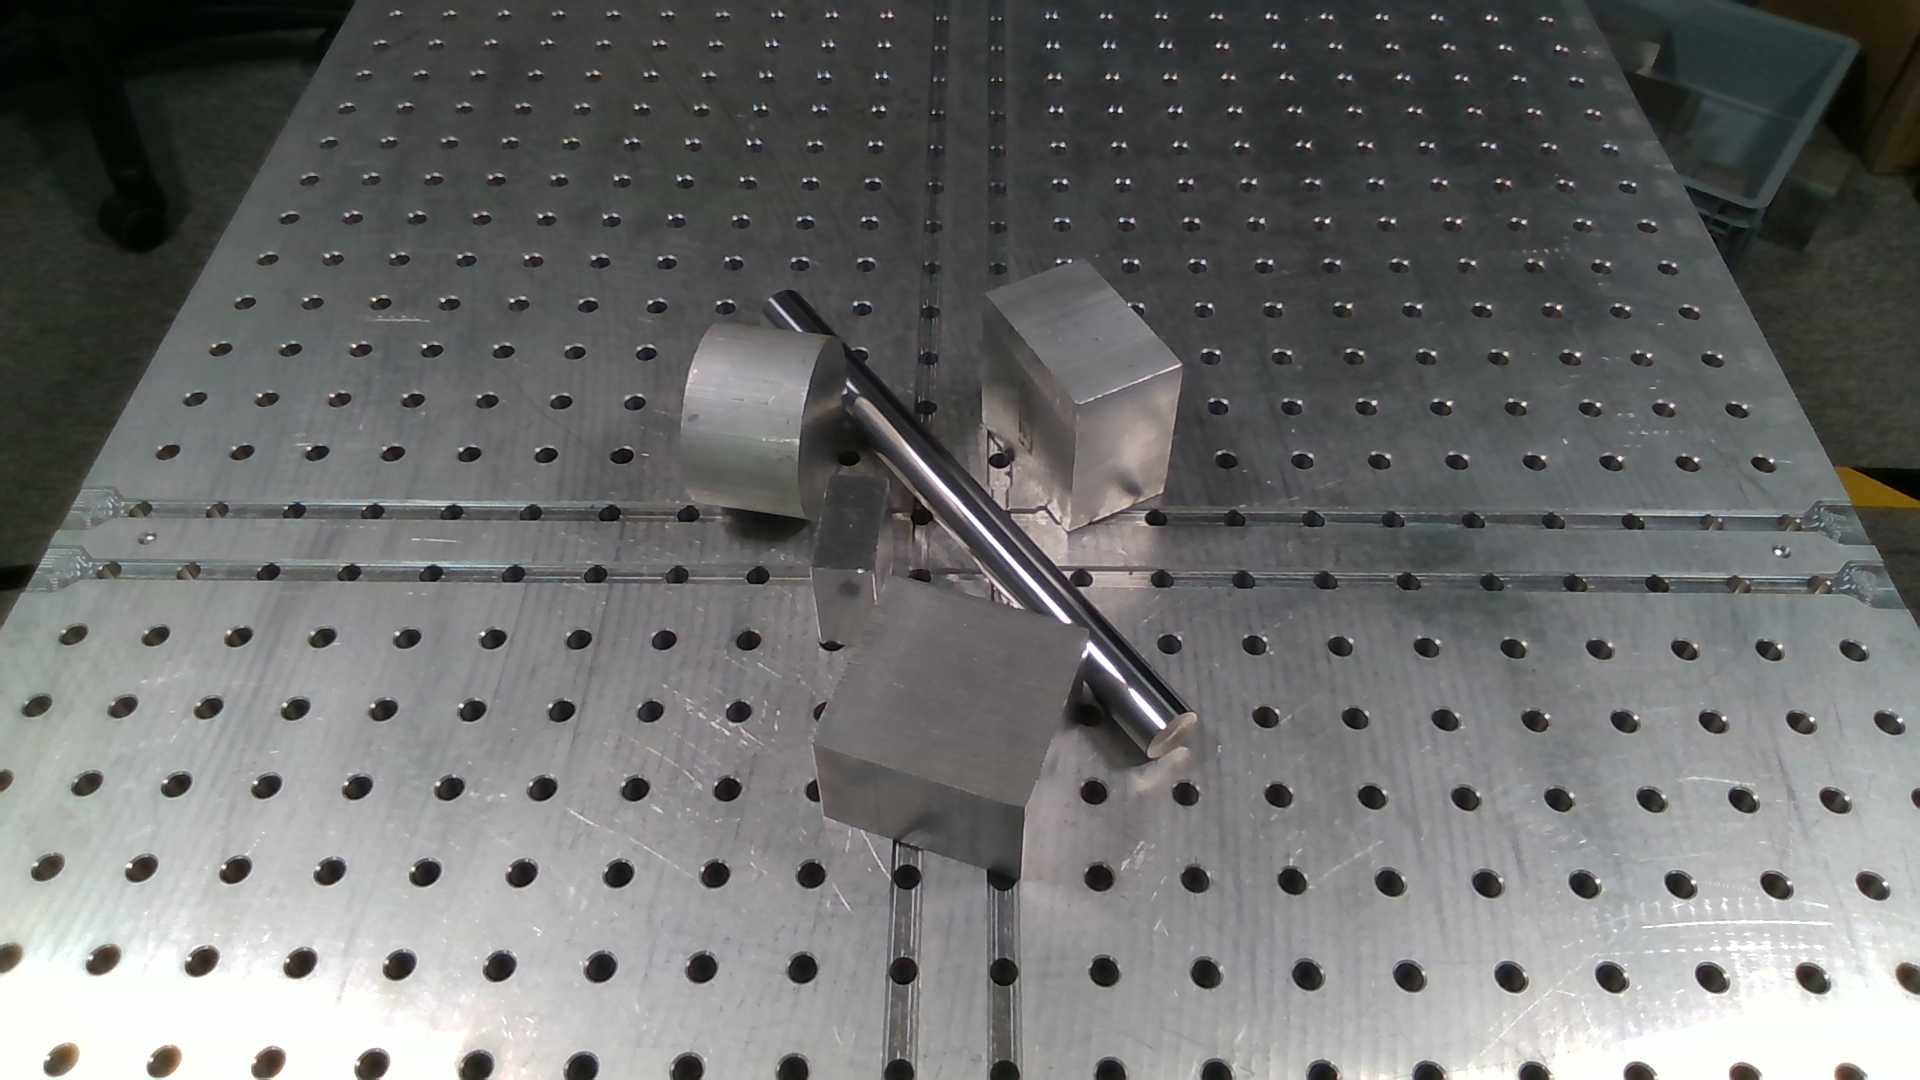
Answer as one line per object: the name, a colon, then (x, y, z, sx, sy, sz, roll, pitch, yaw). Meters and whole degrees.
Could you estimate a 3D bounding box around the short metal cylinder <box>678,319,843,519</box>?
short metal cylinder: (-0.084, -0.052, 0.597, 0.050, 0.080, 0.080, 9, 51, 7)

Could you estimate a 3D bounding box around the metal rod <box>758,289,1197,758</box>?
metal rod: (-0.004, -0.020, 0.606, 0.025, 0.025, 0.299, -28, 56, -21)

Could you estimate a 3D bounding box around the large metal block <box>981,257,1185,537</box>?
large metal block: (0.051, -0.063, 0.608, 0.050, 0.080, 0.080, -23, 54, -18)

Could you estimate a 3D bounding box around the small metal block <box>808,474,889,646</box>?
small metal block: (-0.044, 0.009, 0.567, 0.025, 0.050, 0.050, 4, 50, 3)

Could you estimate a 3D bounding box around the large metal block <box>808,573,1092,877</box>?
large metal block: (-0.002, 0.068, 0.514, 0.080, 0.050, 0.080, 15, 52, 12)
